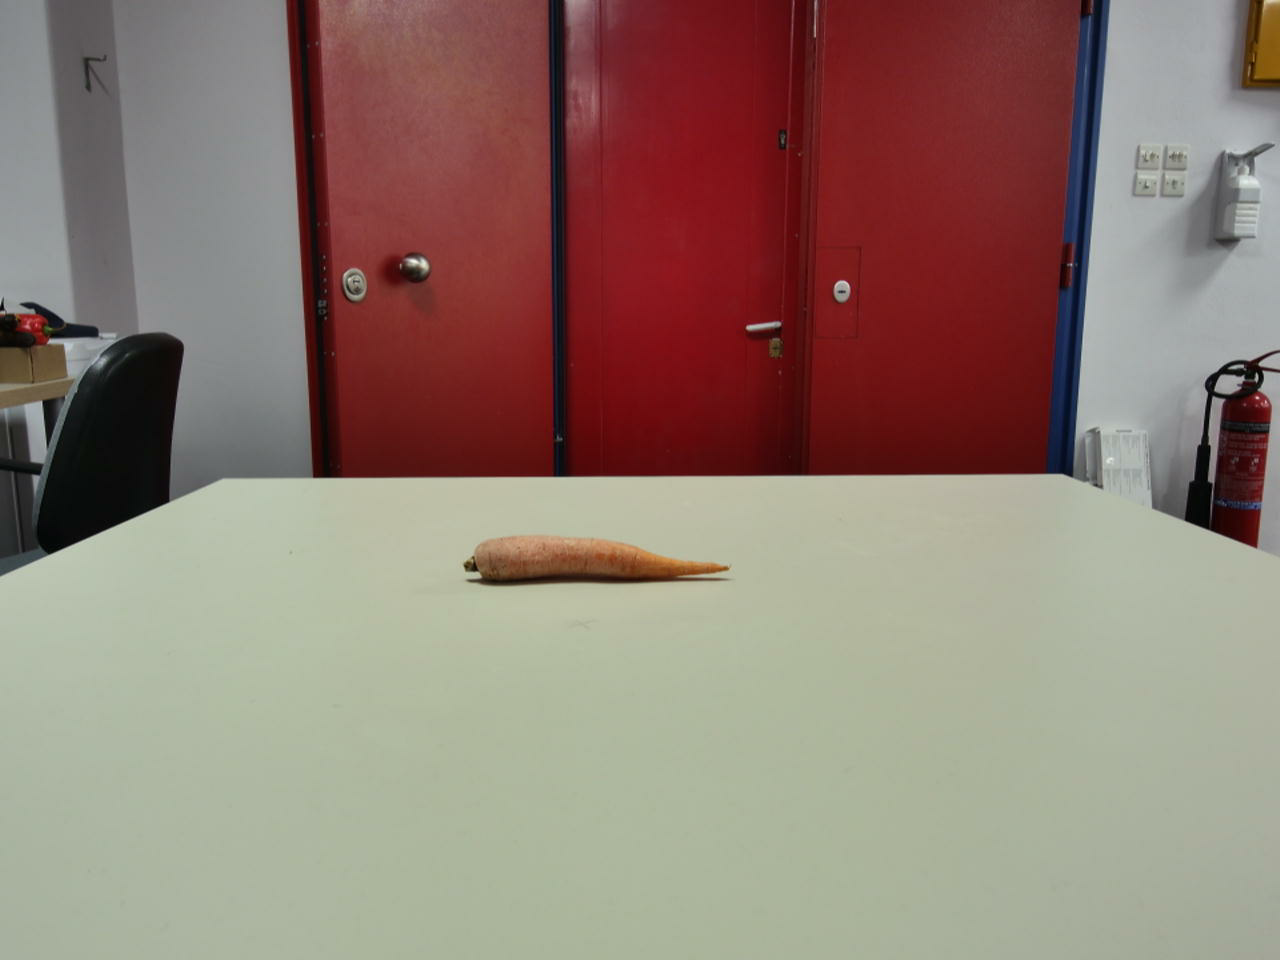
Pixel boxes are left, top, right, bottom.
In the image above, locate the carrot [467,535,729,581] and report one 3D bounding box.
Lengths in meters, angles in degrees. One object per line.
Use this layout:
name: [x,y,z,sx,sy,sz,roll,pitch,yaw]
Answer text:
carrot: [-0.025,0.049,0.629,0.163,0.029,0.031,0,8,-1]
